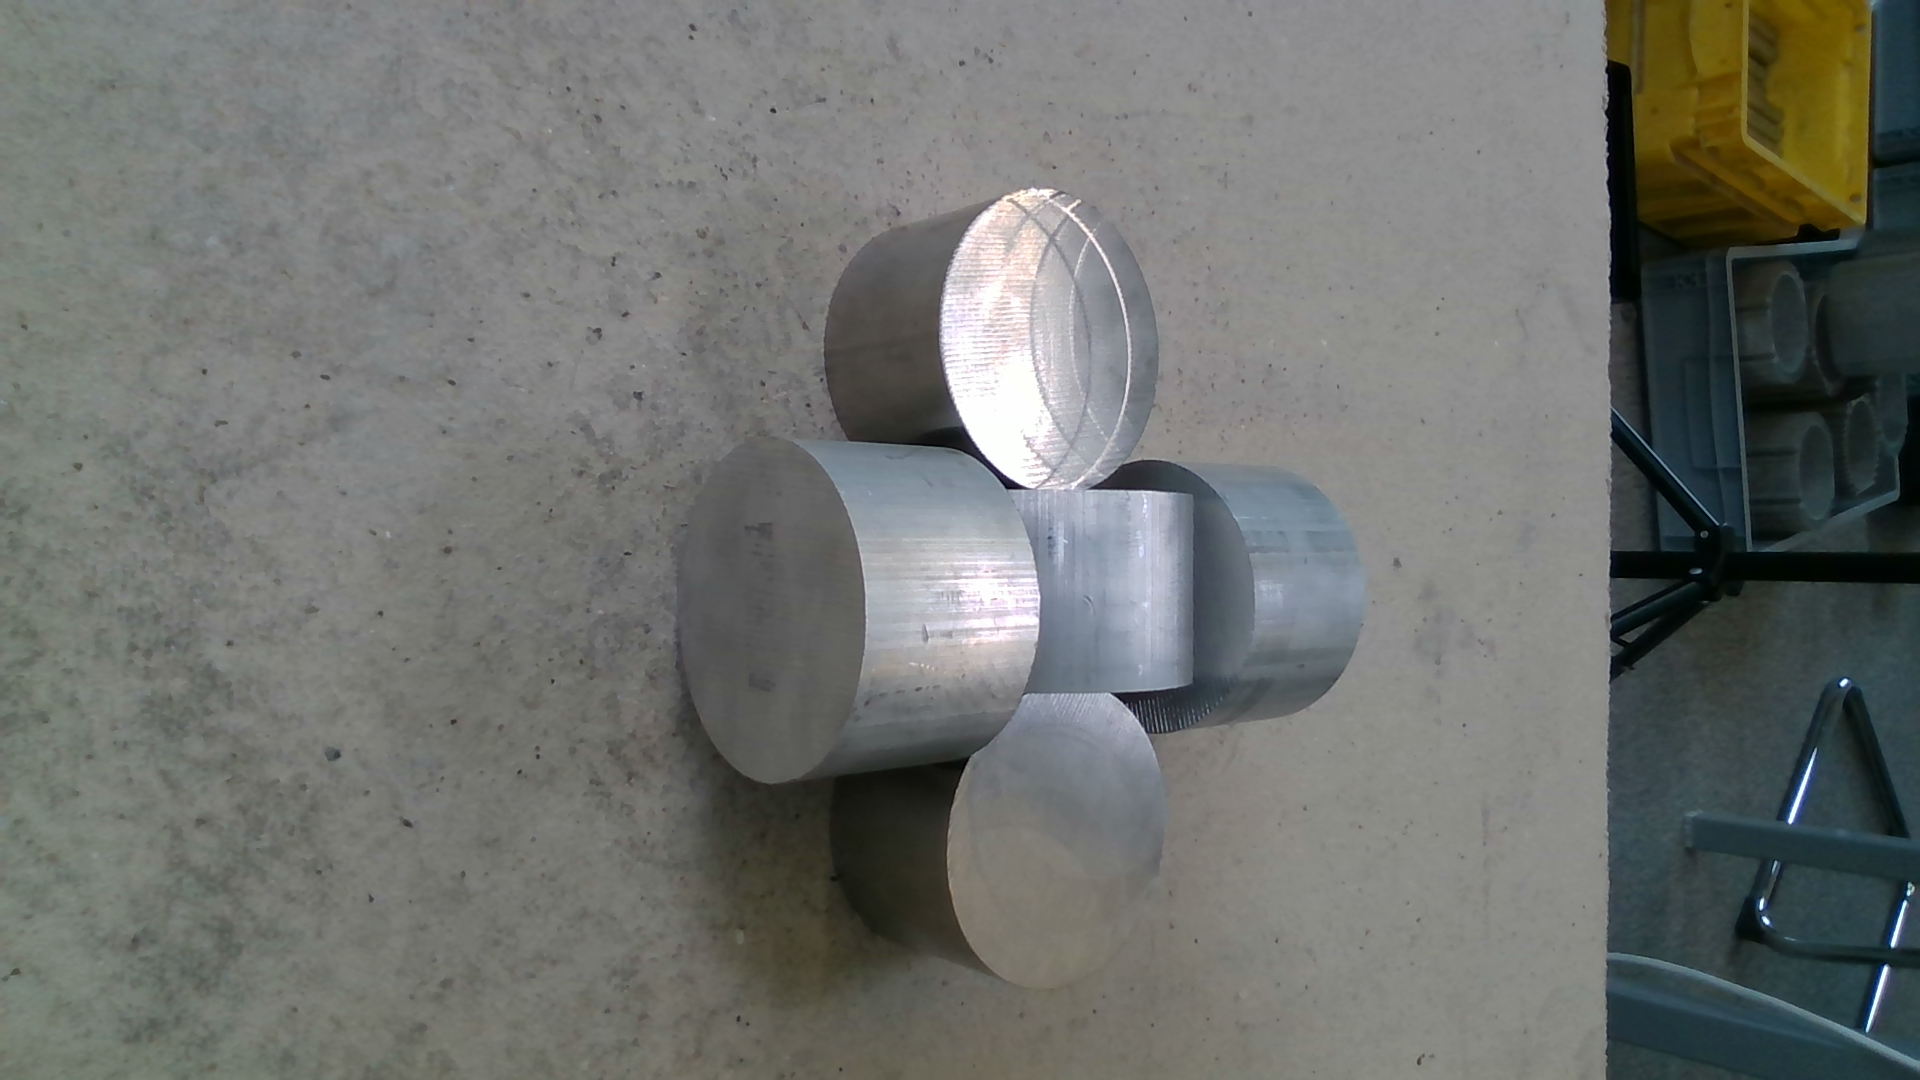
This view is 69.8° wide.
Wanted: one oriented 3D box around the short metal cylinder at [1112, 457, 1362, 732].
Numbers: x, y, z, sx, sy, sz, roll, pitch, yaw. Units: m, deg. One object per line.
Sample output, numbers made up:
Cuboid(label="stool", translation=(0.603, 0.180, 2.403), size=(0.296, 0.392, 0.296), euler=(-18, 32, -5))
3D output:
Cuboid(label="short metal cylinder", translation=(0.073, 0.016, 0.418), size=(0.050, 0.080, 0.080), euler=(0, 90, -40))

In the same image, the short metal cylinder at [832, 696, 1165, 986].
Cuboid(label="short metal cylinder", translation=(0.011, 0.078, 0.384), size=(0.080, 0.050, 0.080), euler=(0, 90, -40))

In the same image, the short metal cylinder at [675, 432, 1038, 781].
Cuboid(label="short metal cylinder", translation=(-0.027, 0.015, 0.334), size=(0.050, 0.080, 0.080), euler=(0, 90, -41))

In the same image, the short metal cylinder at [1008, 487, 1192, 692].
Cuboid(label="short metal cylinder", translation=(0.023, 0.012, 0.375), size=(0.080, 0.080, 0.050), euler=(1, 89, -40))

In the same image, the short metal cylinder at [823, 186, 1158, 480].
Cuboid(label="short metal cylinder", translation=(0.009, -0.053, 0.383), size=(0.080, 0.050, 0.080), euler=(-1, 91, -40))
